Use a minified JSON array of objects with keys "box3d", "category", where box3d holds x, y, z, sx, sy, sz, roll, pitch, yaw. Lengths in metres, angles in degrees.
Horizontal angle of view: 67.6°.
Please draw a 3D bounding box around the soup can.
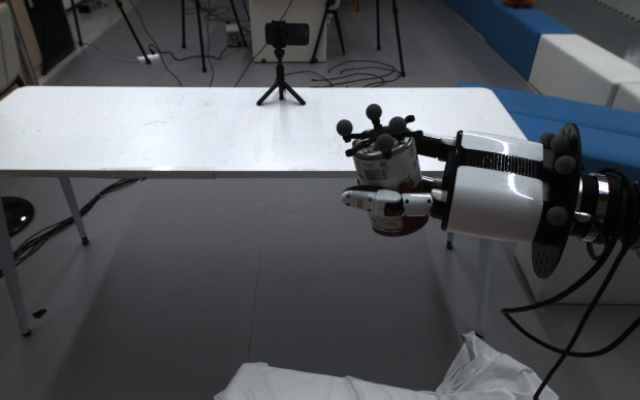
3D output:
[{"box3d":[0.079,-0.021,0.526,0.067,0.101,0.067,-13,31,8],"category":"soup can"}]
